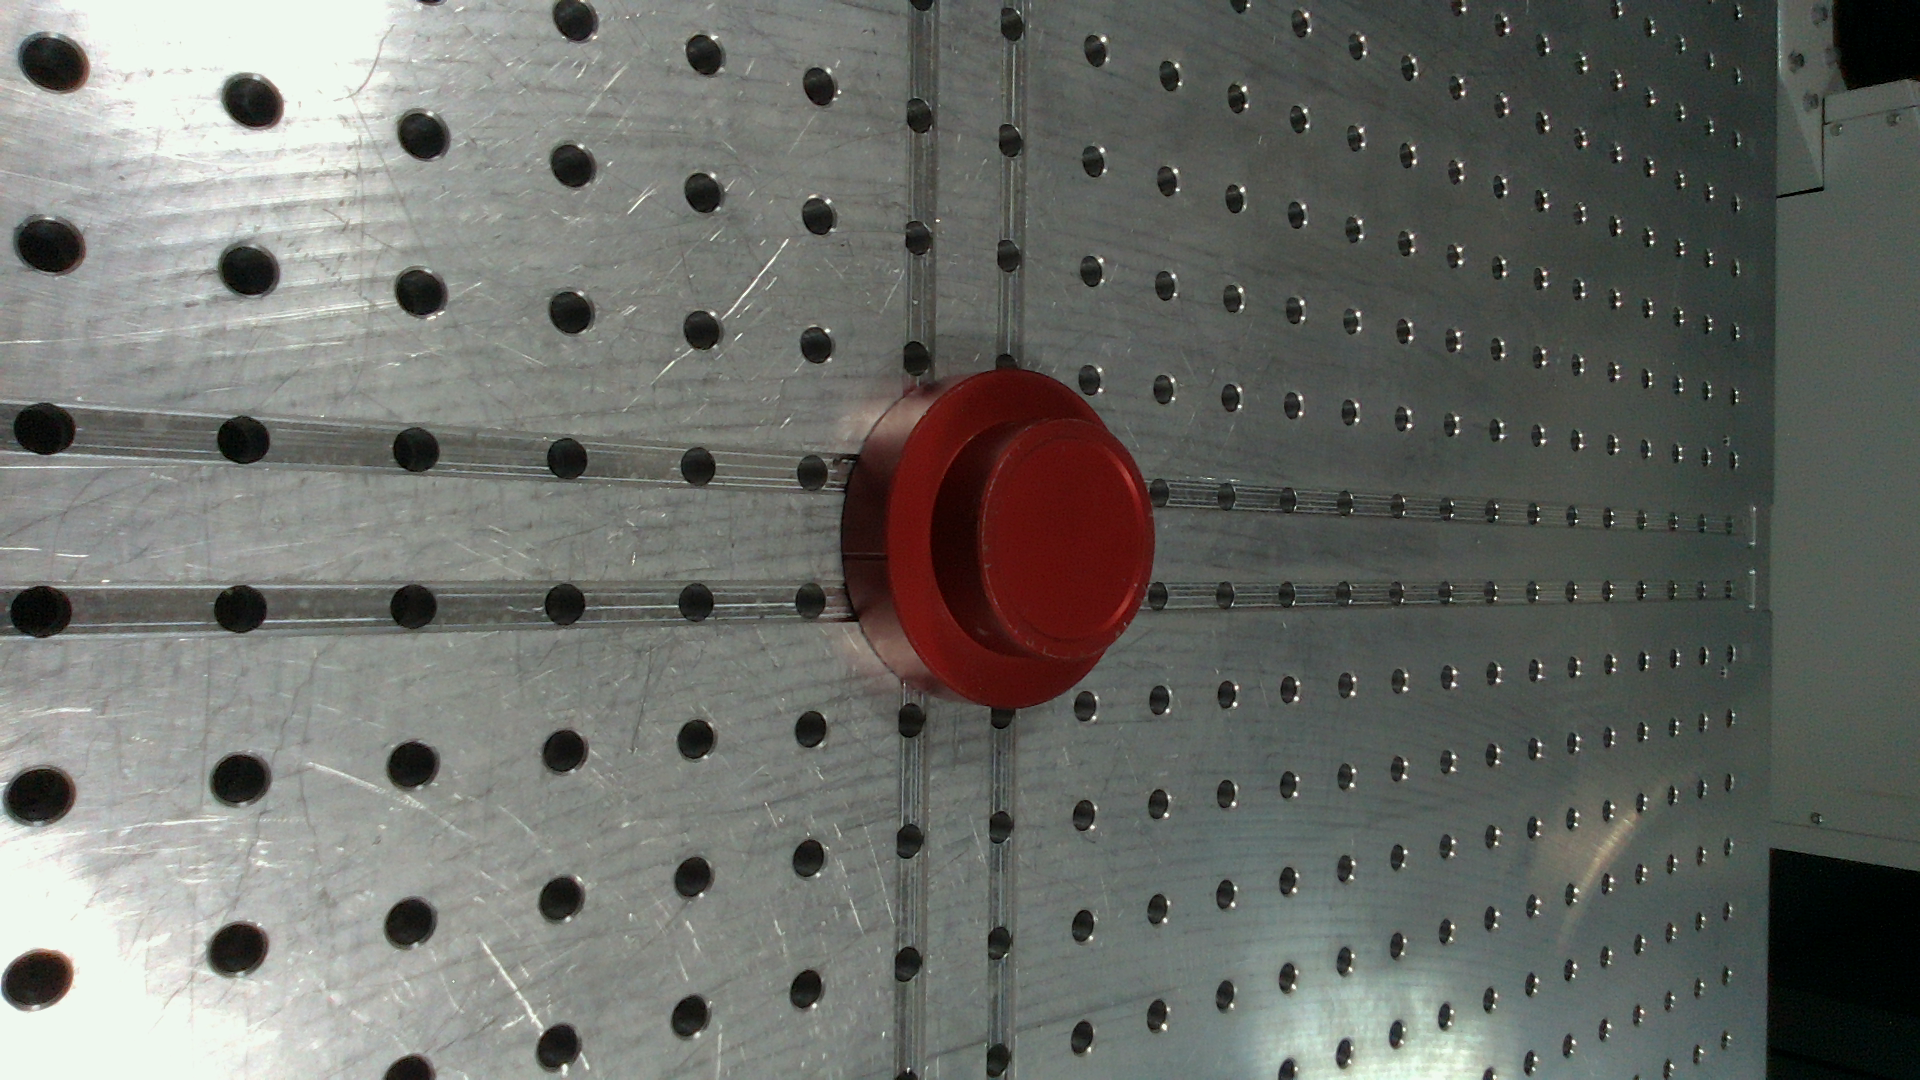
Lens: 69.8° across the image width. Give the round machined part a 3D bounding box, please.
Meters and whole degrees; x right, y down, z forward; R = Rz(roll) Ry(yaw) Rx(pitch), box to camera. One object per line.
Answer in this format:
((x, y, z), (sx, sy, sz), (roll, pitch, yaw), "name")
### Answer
((0.018, -0.001, 0.395), (0.098, 0.042, 0.098), (0, 90, -40), "round machined part")
